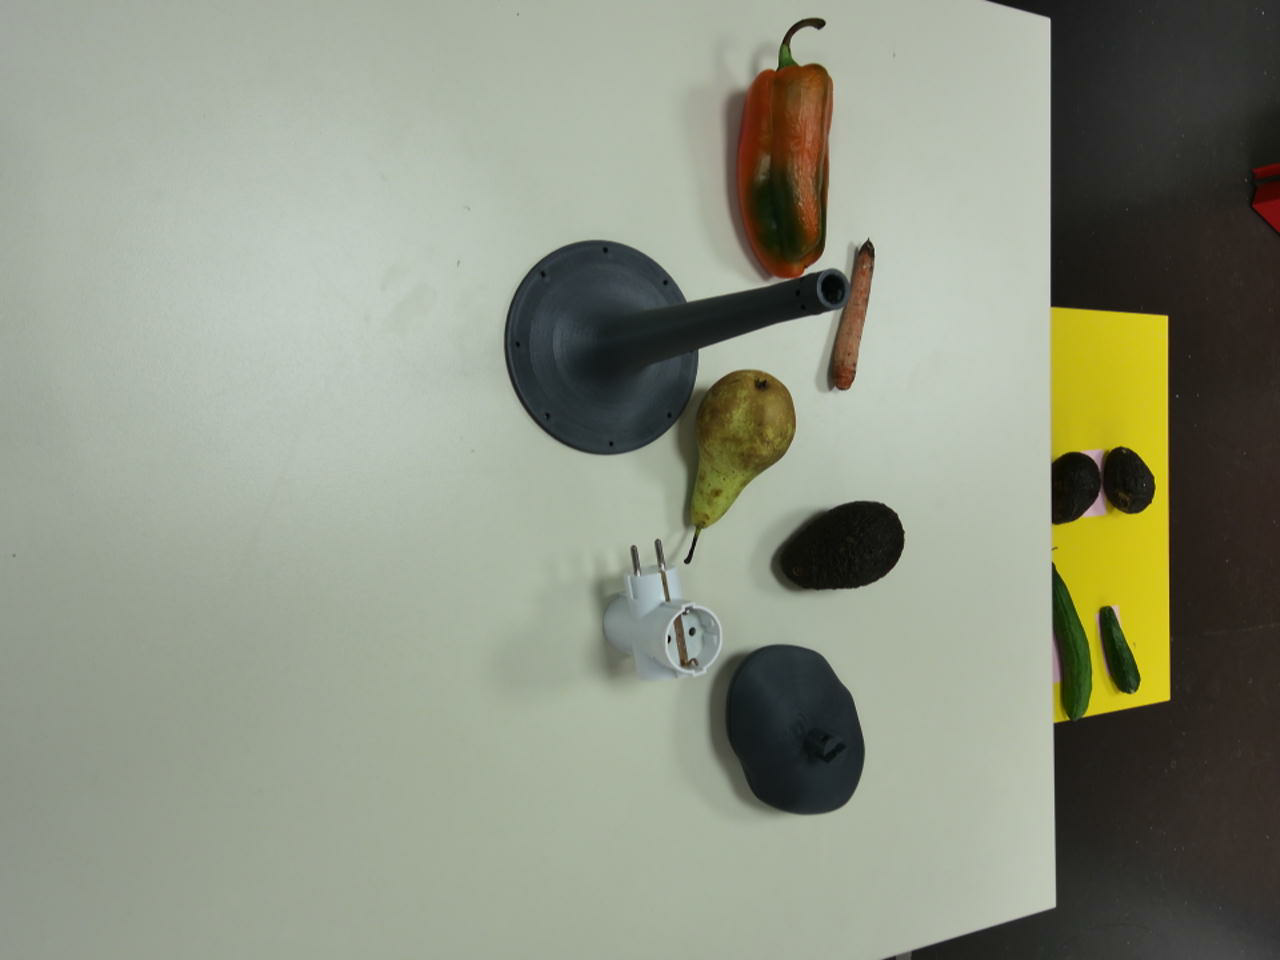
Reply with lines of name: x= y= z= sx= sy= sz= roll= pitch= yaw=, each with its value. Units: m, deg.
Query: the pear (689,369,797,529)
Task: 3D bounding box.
pear: x=0.073 y=-0.009 z=0.731 sx=0.071 sy=0.075 sz=0.144 roll=9 pitch=87 yaw=-28
